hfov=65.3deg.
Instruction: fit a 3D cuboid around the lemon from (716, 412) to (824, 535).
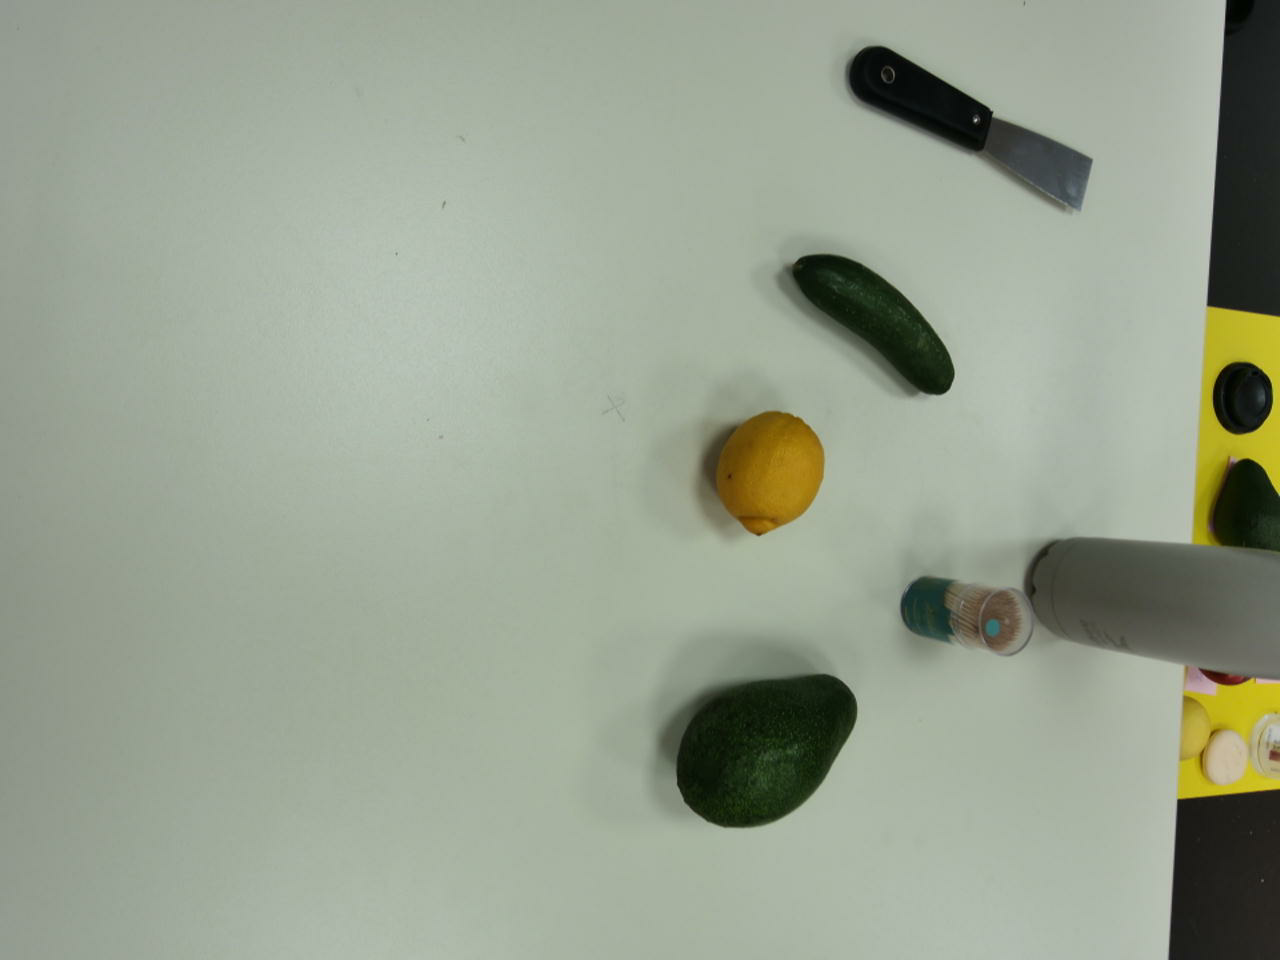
[{"bbox_3d":[0.074,-0.005,0.574,0.067,0.059,0.061,-46,106,-16],"label":"lemon"}]
